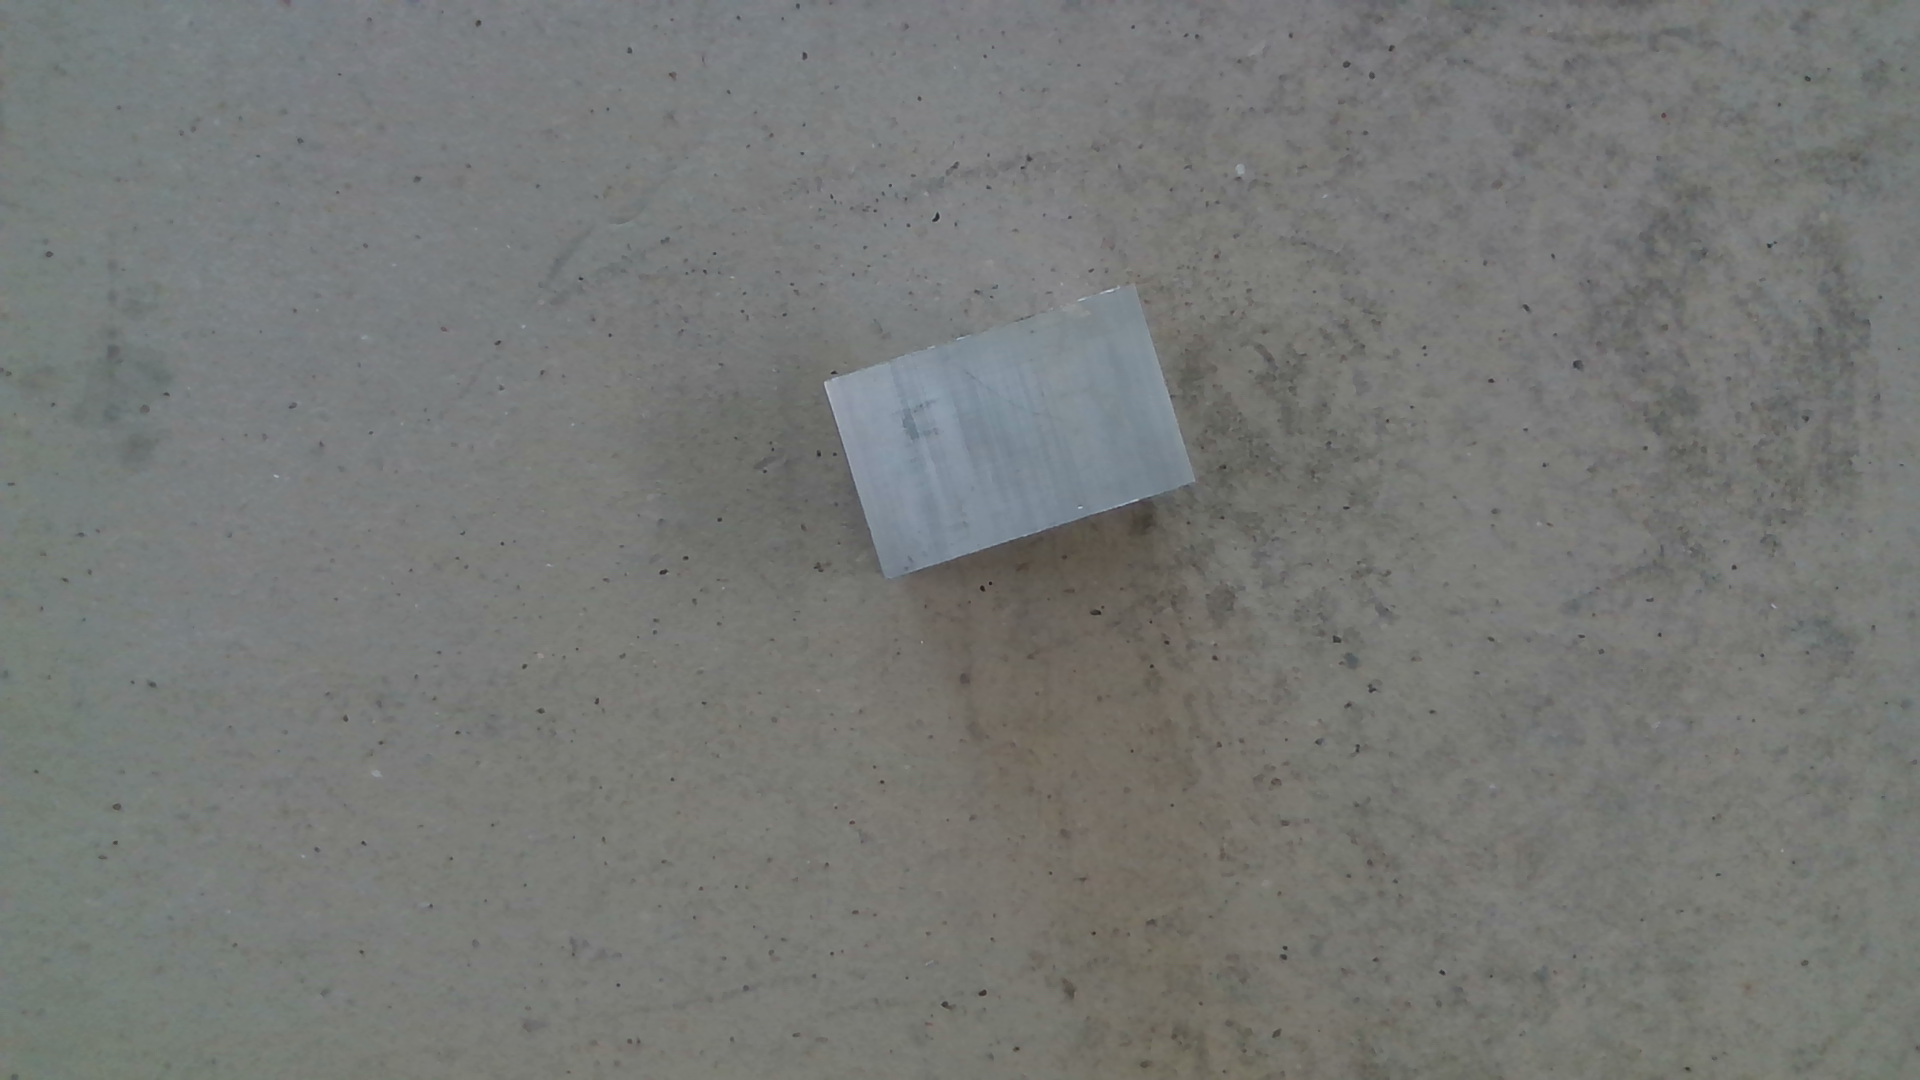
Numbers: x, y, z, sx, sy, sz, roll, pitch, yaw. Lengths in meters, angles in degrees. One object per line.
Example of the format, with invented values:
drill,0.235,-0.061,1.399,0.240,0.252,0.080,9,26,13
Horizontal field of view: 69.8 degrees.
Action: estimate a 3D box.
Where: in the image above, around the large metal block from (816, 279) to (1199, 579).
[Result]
large metal block,0.011,-0.026,0.367,0.080,0.080,0.050,-17,90,0
